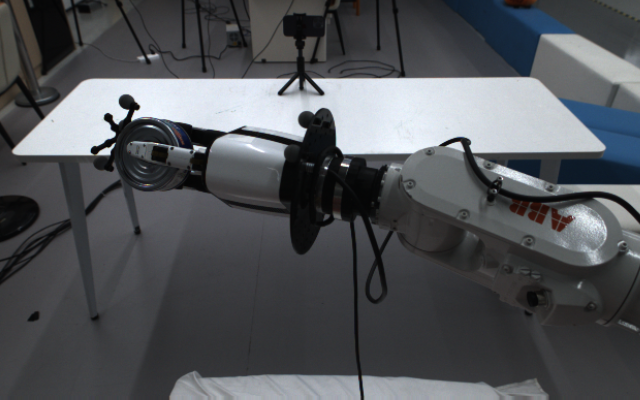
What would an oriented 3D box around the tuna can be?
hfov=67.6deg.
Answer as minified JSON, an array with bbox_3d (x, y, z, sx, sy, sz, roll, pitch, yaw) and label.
[{"bbox_3d":[-0.190,-0.048,0.559,0.085,0.085,0.034,9,6,10],"label":"tuna can"}]
